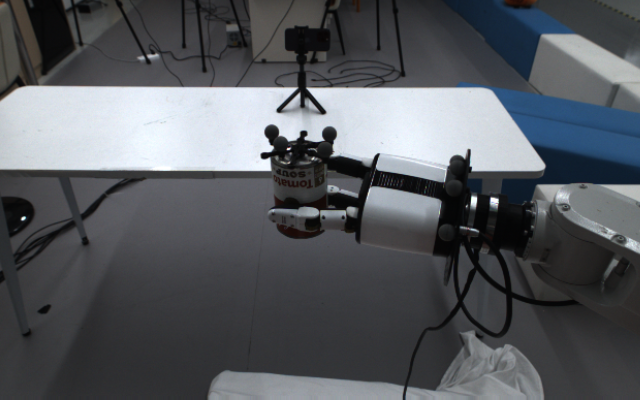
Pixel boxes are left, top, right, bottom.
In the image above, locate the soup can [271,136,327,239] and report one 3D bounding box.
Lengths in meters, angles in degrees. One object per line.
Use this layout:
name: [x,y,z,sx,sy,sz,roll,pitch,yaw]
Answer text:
soup can: [-0.021,-0.014,0.590,0.067,0.101,0.067,-2,34,1]
